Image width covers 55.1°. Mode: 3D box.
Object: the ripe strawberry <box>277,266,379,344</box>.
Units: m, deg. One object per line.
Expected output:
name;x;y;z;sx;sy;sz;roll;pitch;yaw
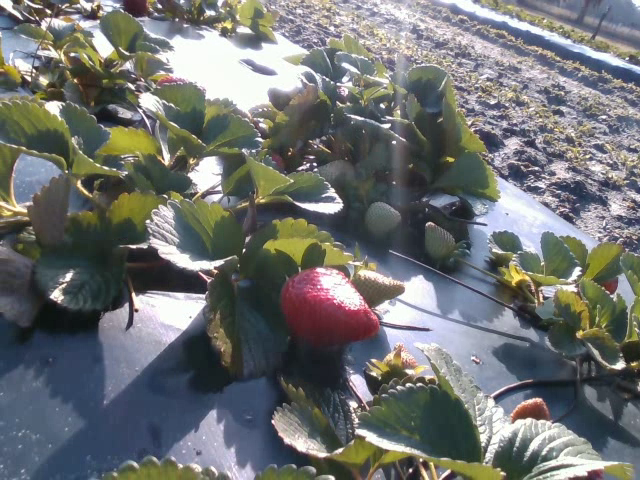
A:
ripe strawberry;0.008;0.036;0.321;0.072;0.057;0.055;18;-27;49
